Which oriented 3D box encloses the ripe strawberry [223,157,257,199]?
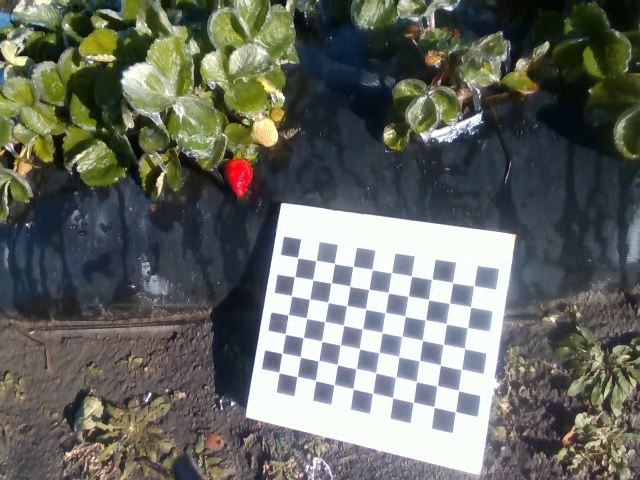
[{"bbox_3d":[-0.108,-0.081,0.809,0.042,0.052,0.040,-9,-16,13],"label":"ripe strawberry"}]
